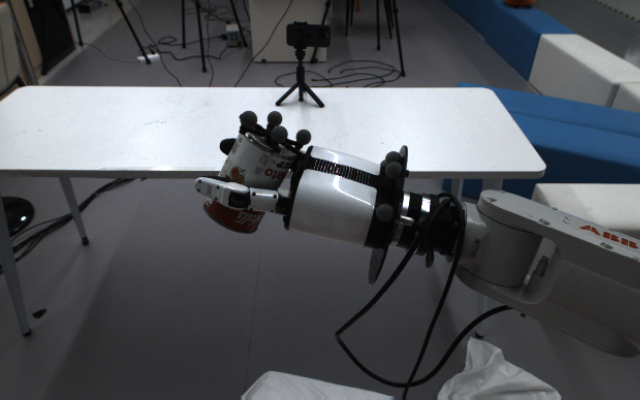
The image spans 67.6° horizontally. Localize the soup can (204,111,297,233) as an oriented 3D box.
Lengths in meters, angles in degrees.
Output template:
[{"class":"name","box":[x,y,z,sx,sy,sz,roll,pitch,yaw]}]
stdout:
[{"class":"soup can","box":[-0.077,-0.022,0.538,0.067,0.101,0.067,27,18,-10]}]
